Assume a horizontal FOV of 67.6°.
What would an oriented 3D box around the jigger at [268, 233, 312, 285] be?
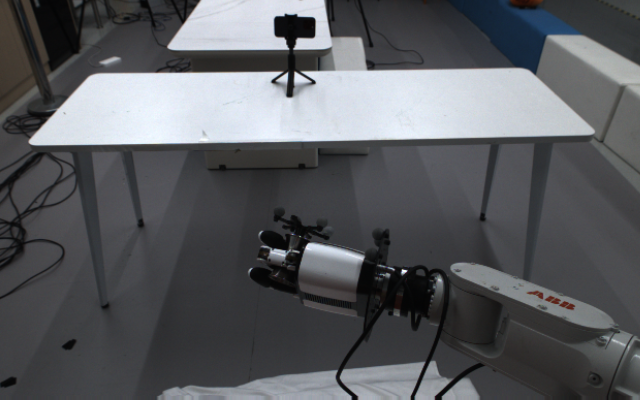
[{"bbox_3d":[-0.041,0.087,0.706,0.043,0.043,0.071,13,70,16],"label":"jigger"}]
